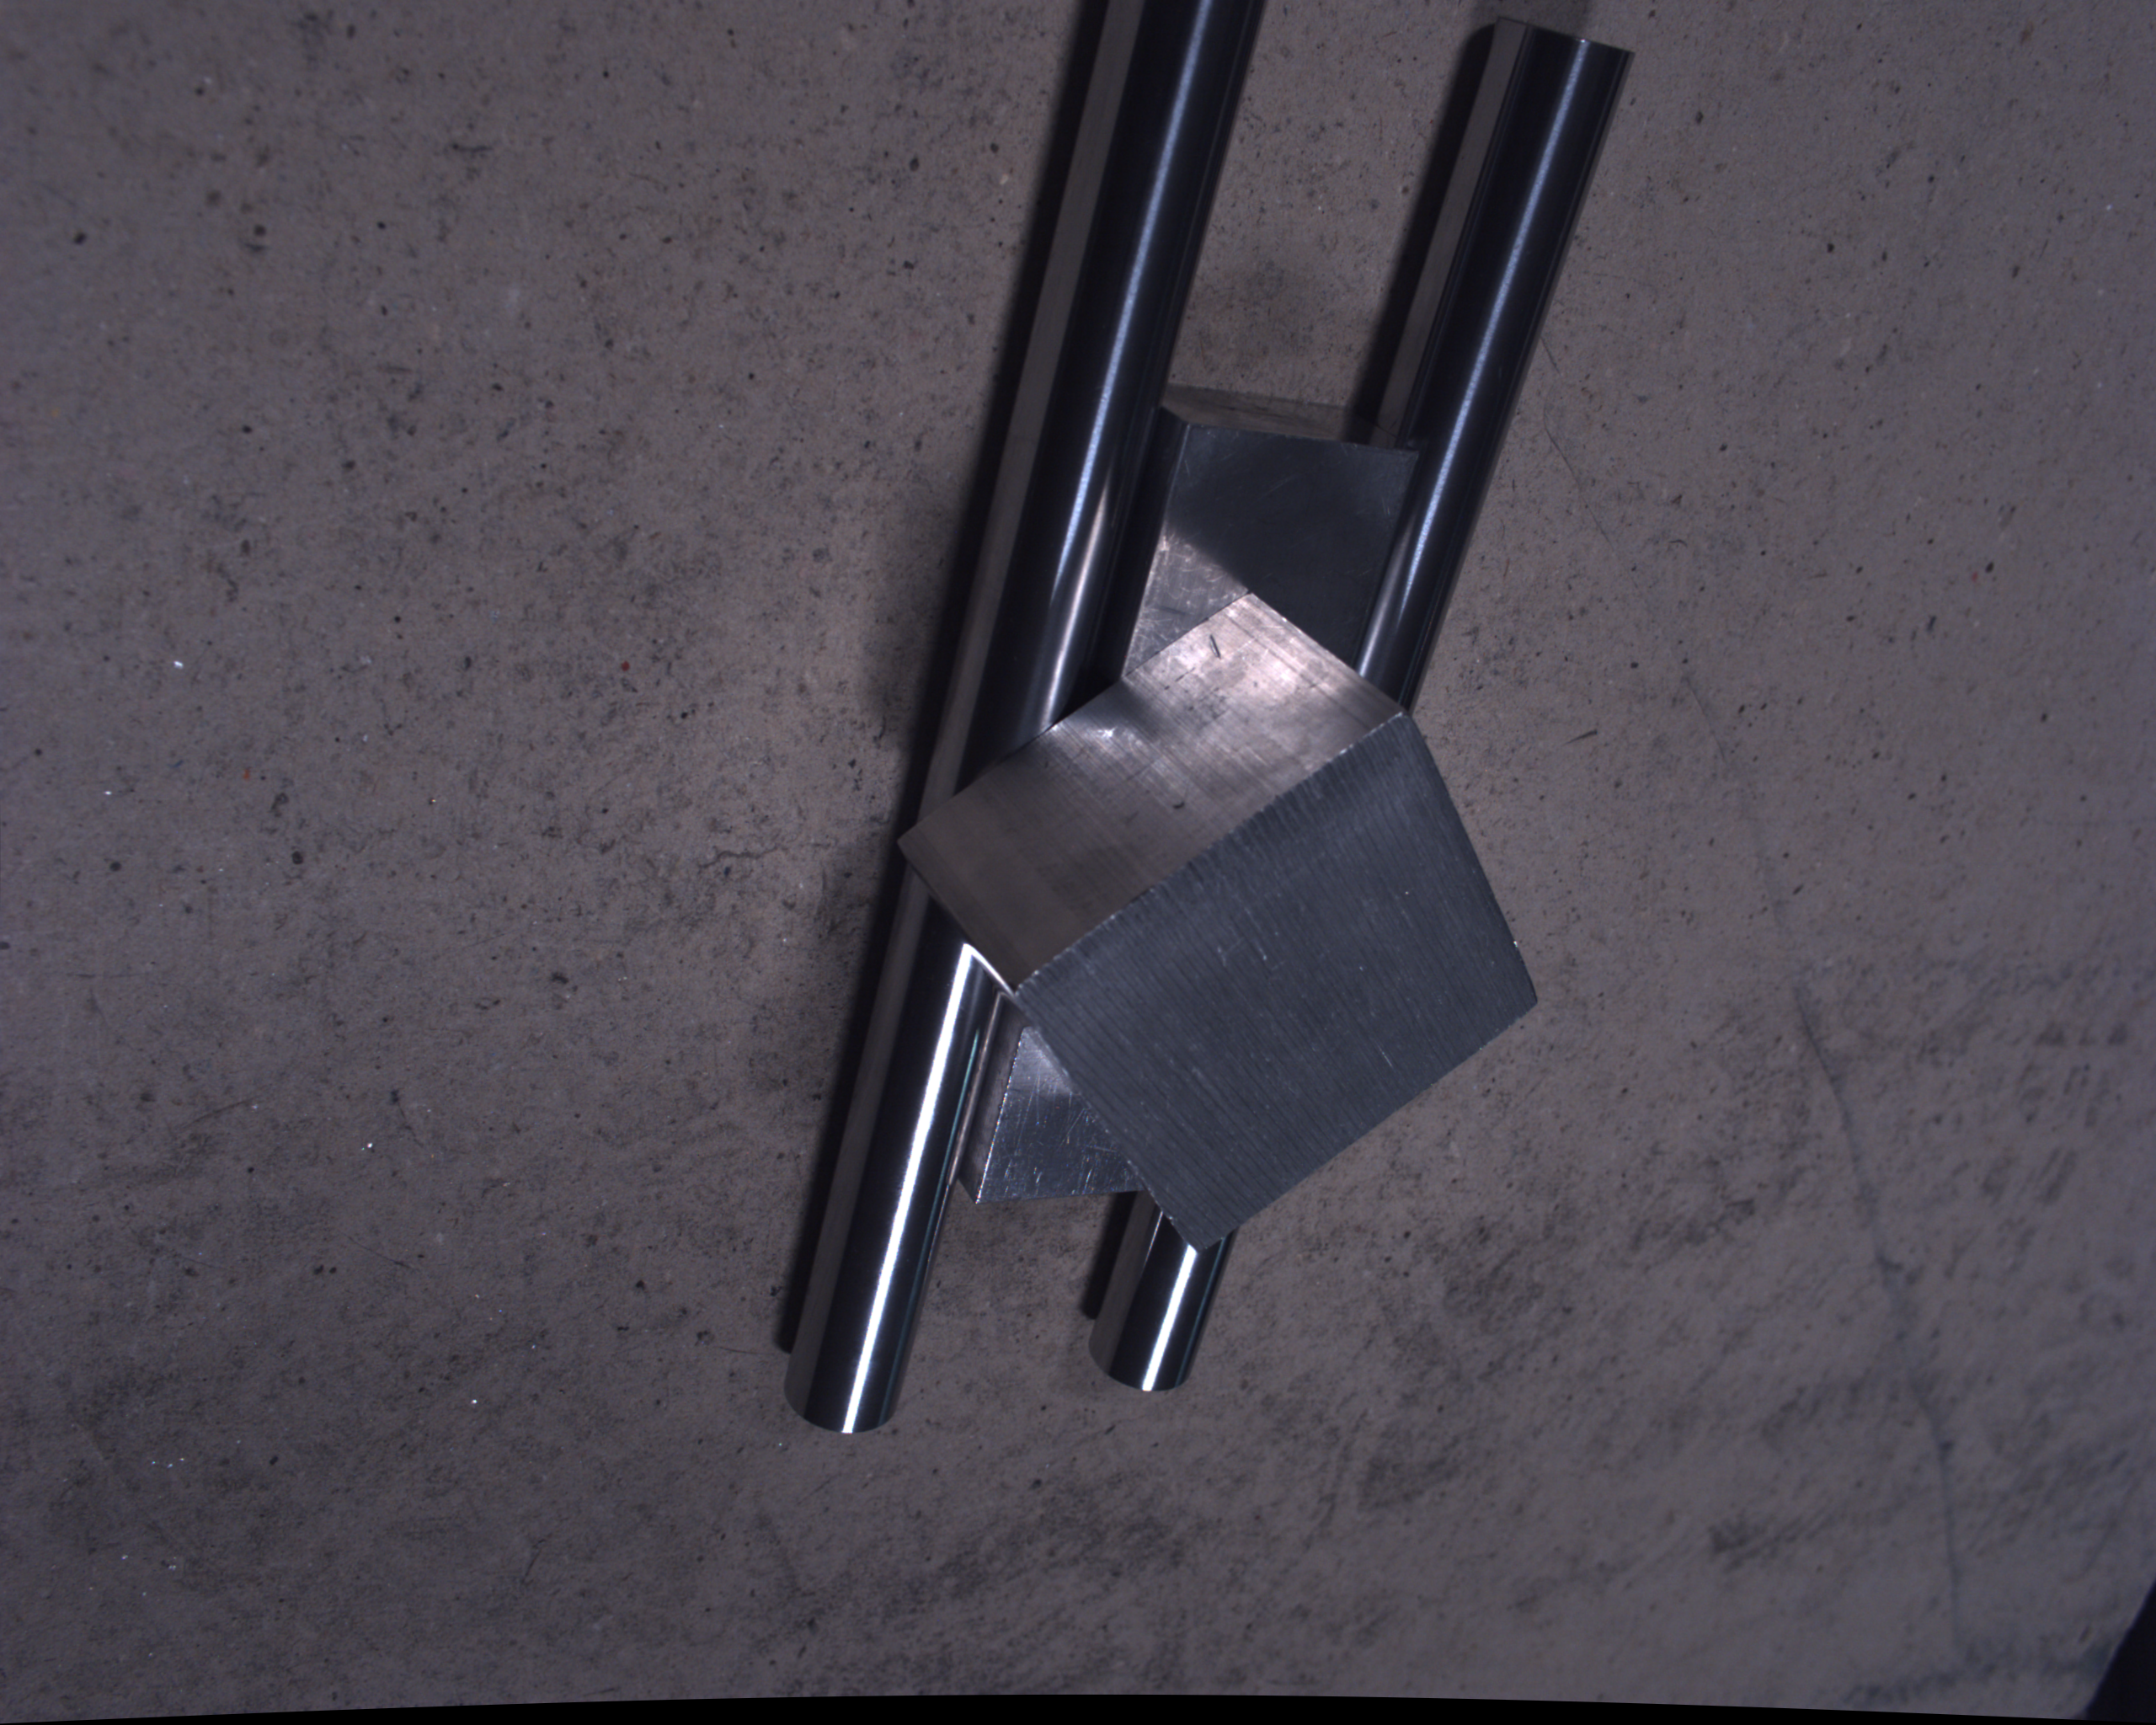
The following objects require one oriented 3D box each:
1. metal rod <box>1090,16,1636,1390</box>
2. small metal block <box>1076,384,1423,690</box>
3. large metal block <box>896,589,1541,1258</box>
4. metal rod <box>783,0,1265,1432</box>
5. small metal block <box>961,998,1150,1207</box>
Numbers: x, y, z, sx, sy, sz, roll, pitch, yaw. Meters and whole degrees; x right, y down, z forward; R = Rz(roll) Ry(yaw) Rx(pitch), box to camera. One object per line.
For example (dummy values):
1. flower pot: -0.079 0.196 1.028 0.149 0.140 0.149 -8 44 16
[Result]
1. metal rod: 0.051 -0.015 0.429 0.025 0.025 0.298 1 118 -29
2. small metal block: 0.030 -0.059 0.388 0.050 0.025 0.050 1 118 -29
3. large metal block: 0.027 0.012 0.381 0.080 0.050 0.080 -35 129 -5
4. metal rod: -0.016 -0.016 0.392 0.025 0.025 0.298 1 118 -29
5. small metal block: 0.002 0.043 0.436 0.050 0.025 0.050 1 118 -29
